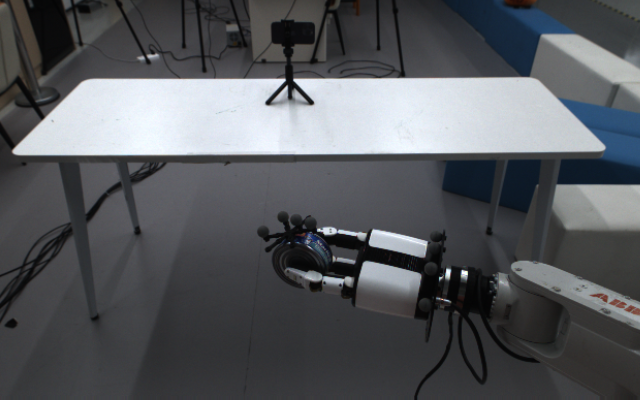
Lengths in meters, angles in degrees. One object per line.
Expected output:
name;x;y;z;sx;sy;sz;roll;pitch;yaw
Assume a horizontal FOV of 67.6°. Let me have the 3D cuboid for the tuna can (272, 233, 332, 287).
tuna can;-0.023;0.094;0.708;0.085;0.085;0.034;11;34;13
